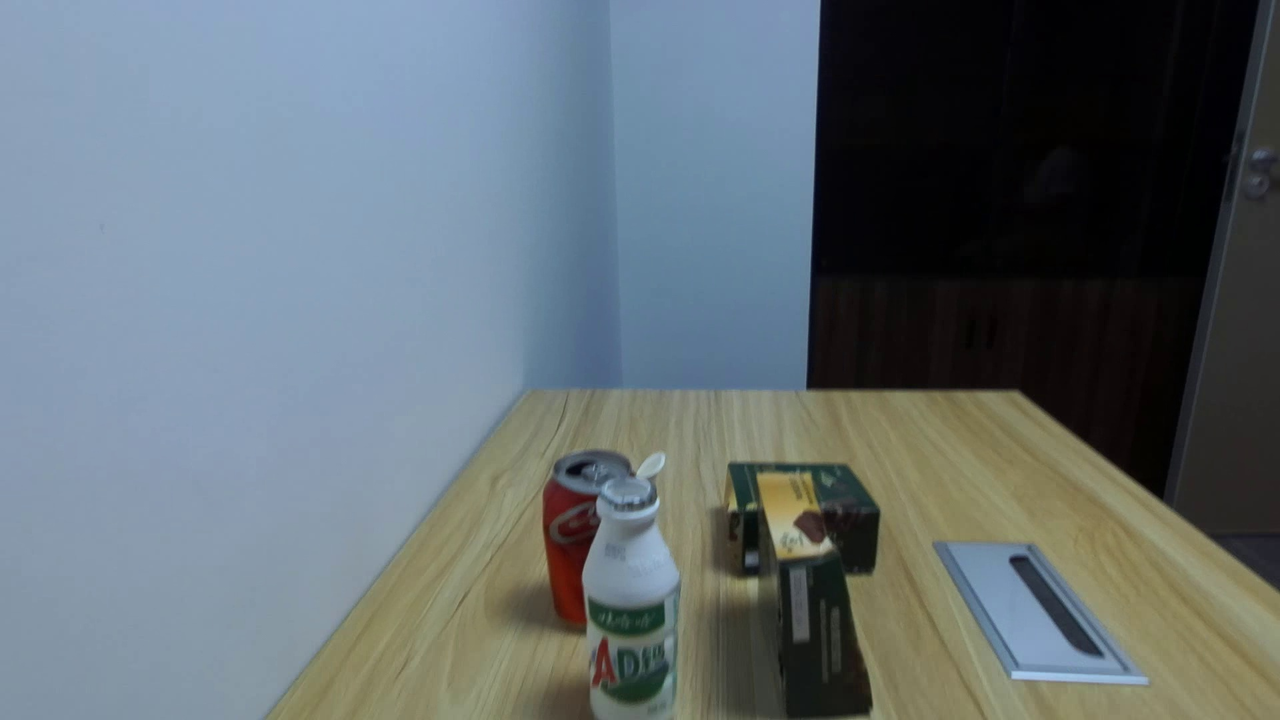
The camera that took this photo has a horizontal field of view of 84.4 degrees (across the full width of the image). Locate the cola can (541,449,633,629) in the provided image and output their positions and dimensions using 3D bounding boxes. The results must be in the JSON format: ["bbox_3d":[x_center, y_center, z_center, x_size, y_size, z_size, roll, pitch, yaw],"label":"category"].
[{"bbox_3d":[-0.030,0.124,0.502,0.072,0.117,0.065,-2,18,-8],"label":"cola can"}]

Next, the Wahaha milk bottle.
[{"bbox_3d":[-0.004,0.136,0.394,0.056,0.147,0.056,-2,17,1],"label":"Wahaha milk bottle"}]

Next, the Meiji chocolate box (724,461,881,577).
[{"bbox_3d":[0.132,0.128,0.594,0.122,0.058,0.115,0,14,1],"label":"Meiji chocolate box"}]

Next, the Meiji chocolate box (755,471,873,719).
[{"bbox_3d":[0.101,0.140,0.441,0.051,0.117,0.117,-9,15,4],"label":"Meiji chocolate box"}]
